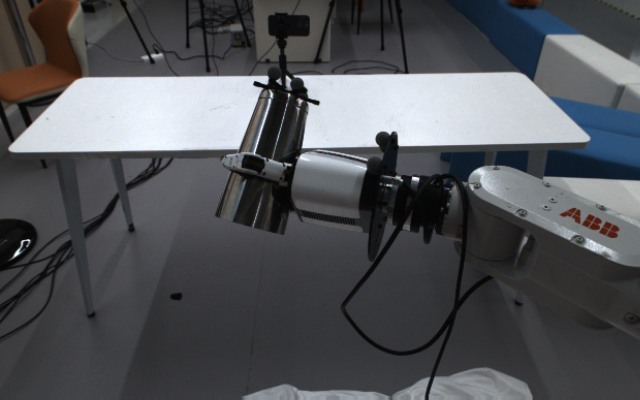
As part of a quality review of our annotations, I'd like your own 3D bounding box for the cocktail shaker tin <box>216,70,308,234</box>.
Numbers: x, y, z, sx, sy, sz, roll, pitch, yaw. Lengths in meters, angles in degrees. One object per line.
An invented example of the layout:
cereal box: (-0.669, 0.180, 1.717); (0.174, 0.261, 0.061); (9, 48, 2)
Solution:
cocktail shaker tin: (-0.067, -0.048, 0.621); (0.093, 0.170, 0.093); (15, -4, 1)
